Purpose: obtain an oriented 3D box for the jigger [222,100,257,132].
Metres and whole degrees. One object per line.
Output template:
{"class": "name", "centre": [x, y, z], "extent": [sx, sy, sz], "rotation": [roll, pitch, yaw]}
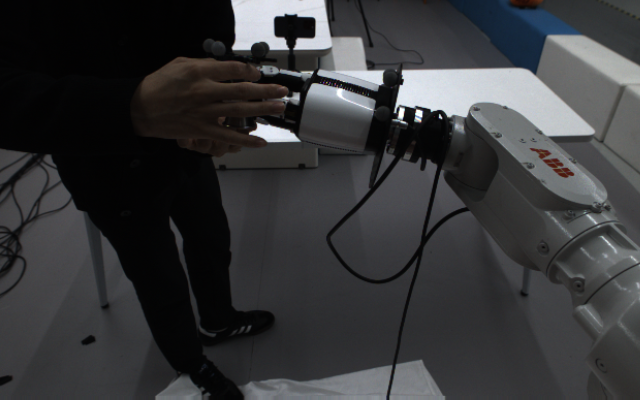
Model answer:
{"class": "jigger", "centre": [-0.104, -0.129, 0.618], "extent": [0.043, 0.071, 0.043], "rotation": [-1, 20, 0]}
